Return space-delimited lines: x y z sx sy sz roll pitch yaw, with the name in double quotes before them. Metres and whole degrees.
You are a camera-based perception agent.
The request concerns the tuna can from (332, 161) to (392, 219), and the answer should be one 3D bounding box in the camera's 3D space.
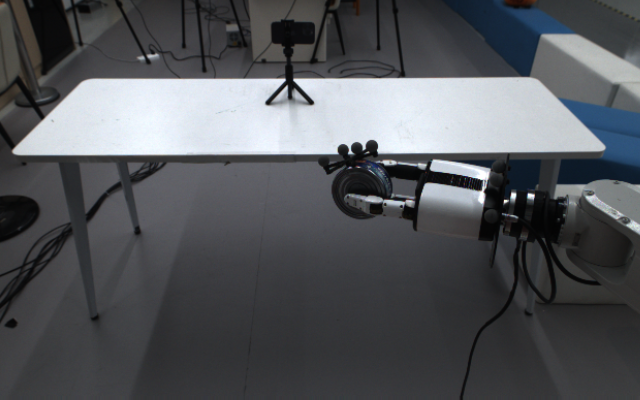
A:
"tuna can" 0.065 -0.009 0.710 0.085 0.085 0.034 15 29 18
